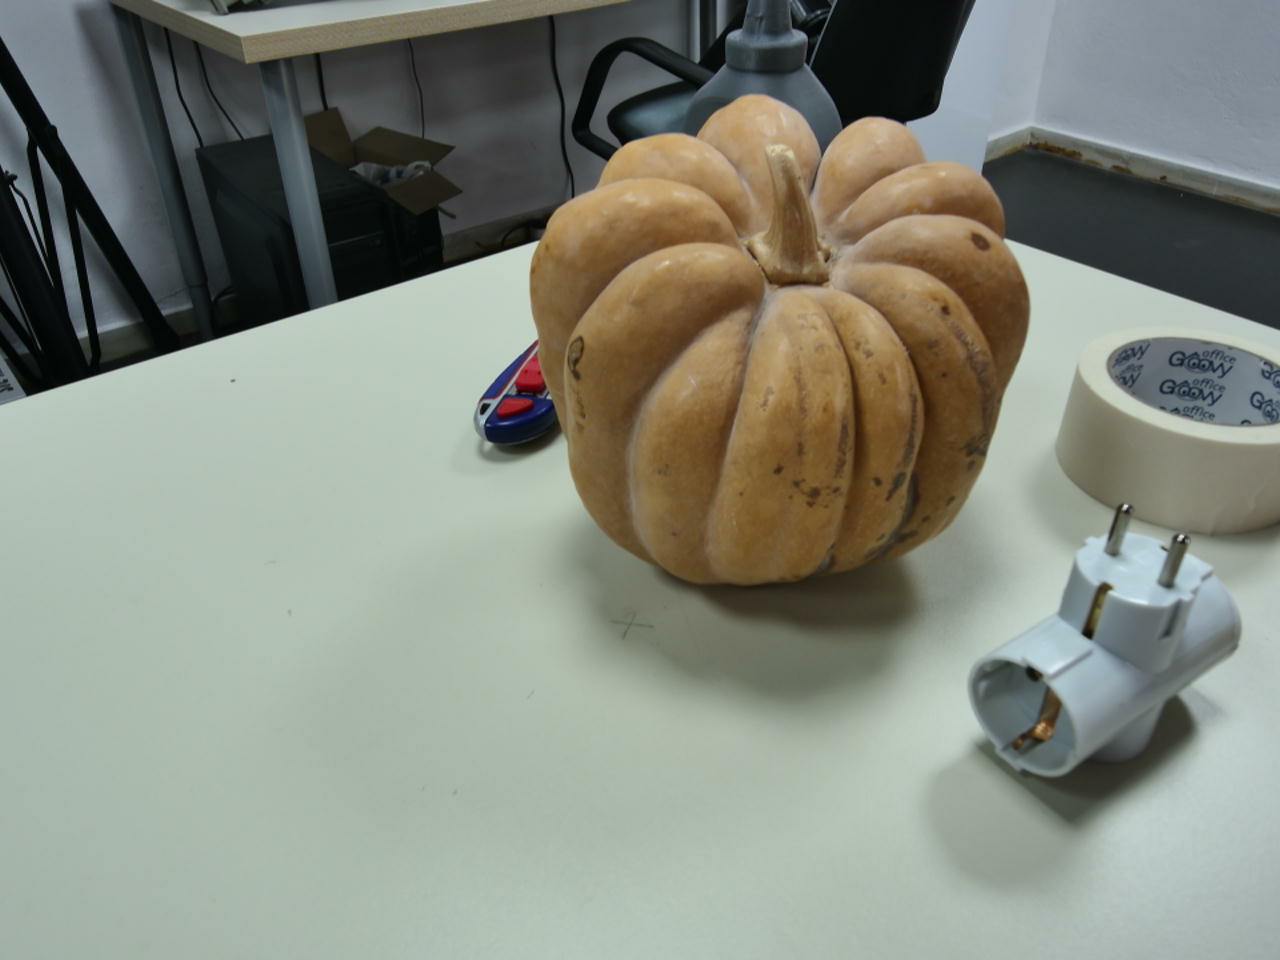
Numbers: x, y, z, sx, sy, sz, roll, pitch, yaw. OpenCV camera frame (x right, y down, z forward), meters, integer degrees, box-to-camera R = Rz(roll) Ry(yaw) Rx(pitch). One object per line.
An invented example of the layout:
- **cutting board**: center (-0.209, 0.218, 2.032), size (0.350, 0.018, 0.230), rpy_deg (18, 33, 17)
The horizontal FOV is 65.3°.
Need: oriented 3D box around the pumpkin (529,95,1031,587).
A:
- **pumpkin**: center (0.053, -0.052, 0.409), size (0.199, 0.177, 0.198), rpy_deg (-1, 35, 1)
